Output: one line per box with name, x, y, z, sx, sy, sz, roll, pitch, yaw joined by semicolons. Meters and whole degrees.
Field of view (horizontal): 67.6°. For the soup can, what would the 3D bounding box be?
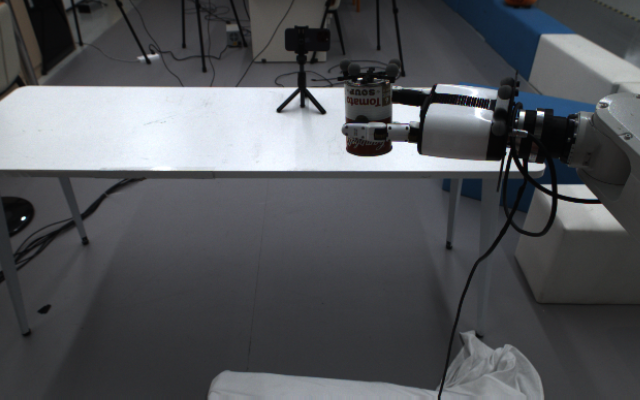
soup can;0.070;-0.122;0.687;0.067;0.101;0.067;-3;27;2
